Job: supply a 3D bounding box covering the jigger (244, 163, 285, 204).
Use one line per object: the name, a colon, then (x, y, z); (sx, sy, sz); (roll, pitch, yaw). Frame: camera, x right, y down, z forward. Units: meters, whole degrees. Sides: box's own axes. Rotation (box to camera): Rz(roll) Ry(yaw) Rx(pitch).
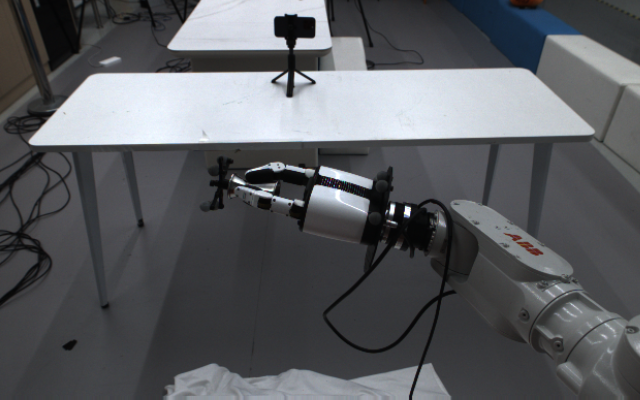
jigger: (-0.090, -0.017, 0.707); (0.071, 0.043, 0.043); (11, 35, 5)
